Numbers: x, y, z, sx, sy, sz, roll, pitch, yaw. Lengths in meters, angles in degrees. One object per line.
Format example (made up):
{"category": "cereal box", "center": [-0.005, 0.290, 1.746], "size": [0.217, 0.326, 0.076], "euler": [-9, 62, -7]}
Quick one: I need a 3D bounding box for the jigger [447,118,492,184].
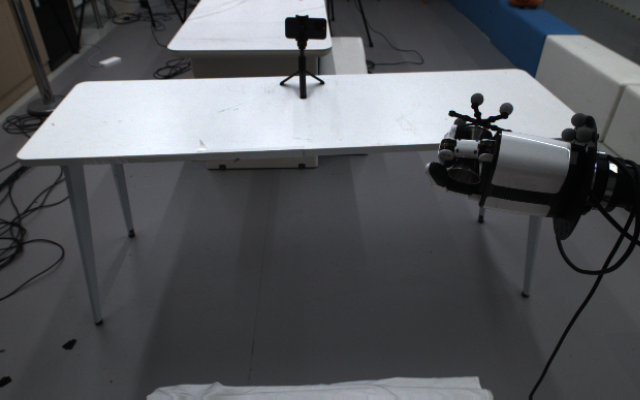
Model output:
{"category": "jigger", "center": [0.202, -0.064, 0.649], "size": [0.043, 0.043, 0.071], "euler": [16, 70, 19]}
